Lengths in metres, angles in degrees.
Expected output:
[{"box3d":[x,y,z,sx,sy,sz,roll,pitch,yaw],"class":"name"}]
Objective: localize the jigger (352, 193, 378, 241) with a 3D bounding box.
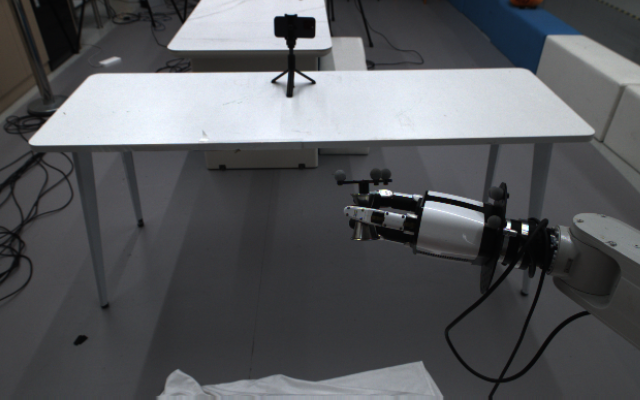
[{"box3d":[0.065,0.023,0.717,0.043,0.071,0.043,-2,3,0],"class":"jigger"}]
